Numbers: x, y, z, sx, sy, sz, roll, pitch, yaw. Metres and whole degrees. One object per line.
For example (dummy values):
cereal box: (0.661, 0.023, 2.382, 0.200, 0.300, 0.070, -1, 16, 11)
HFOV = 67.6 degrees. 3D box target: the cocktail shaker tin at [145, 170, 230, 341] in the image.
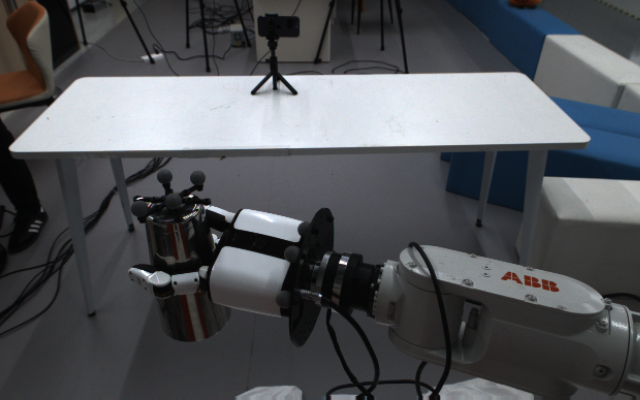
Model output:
cocktail shaker tin: (-0.162, 0.079, 0.592, 0.093, 0.170, 0.093, -1, 33, 0)
